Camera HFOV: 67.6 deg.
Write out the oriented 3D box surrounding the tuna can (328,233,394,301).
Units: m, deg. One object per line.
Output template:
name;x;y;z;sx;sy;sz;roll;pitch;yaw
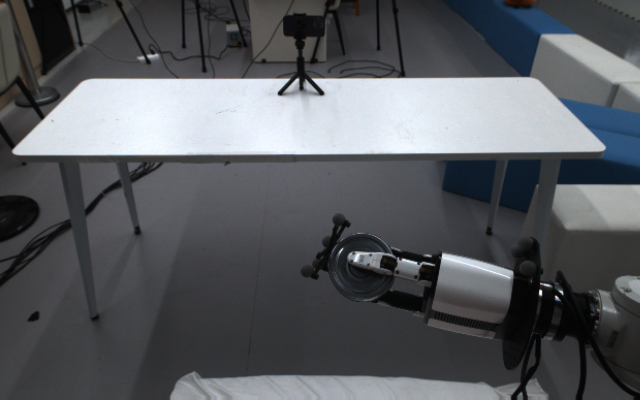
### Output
tuna can;0.058;0.084;0.618;0.085;0.034;0.085;-2;71;5
